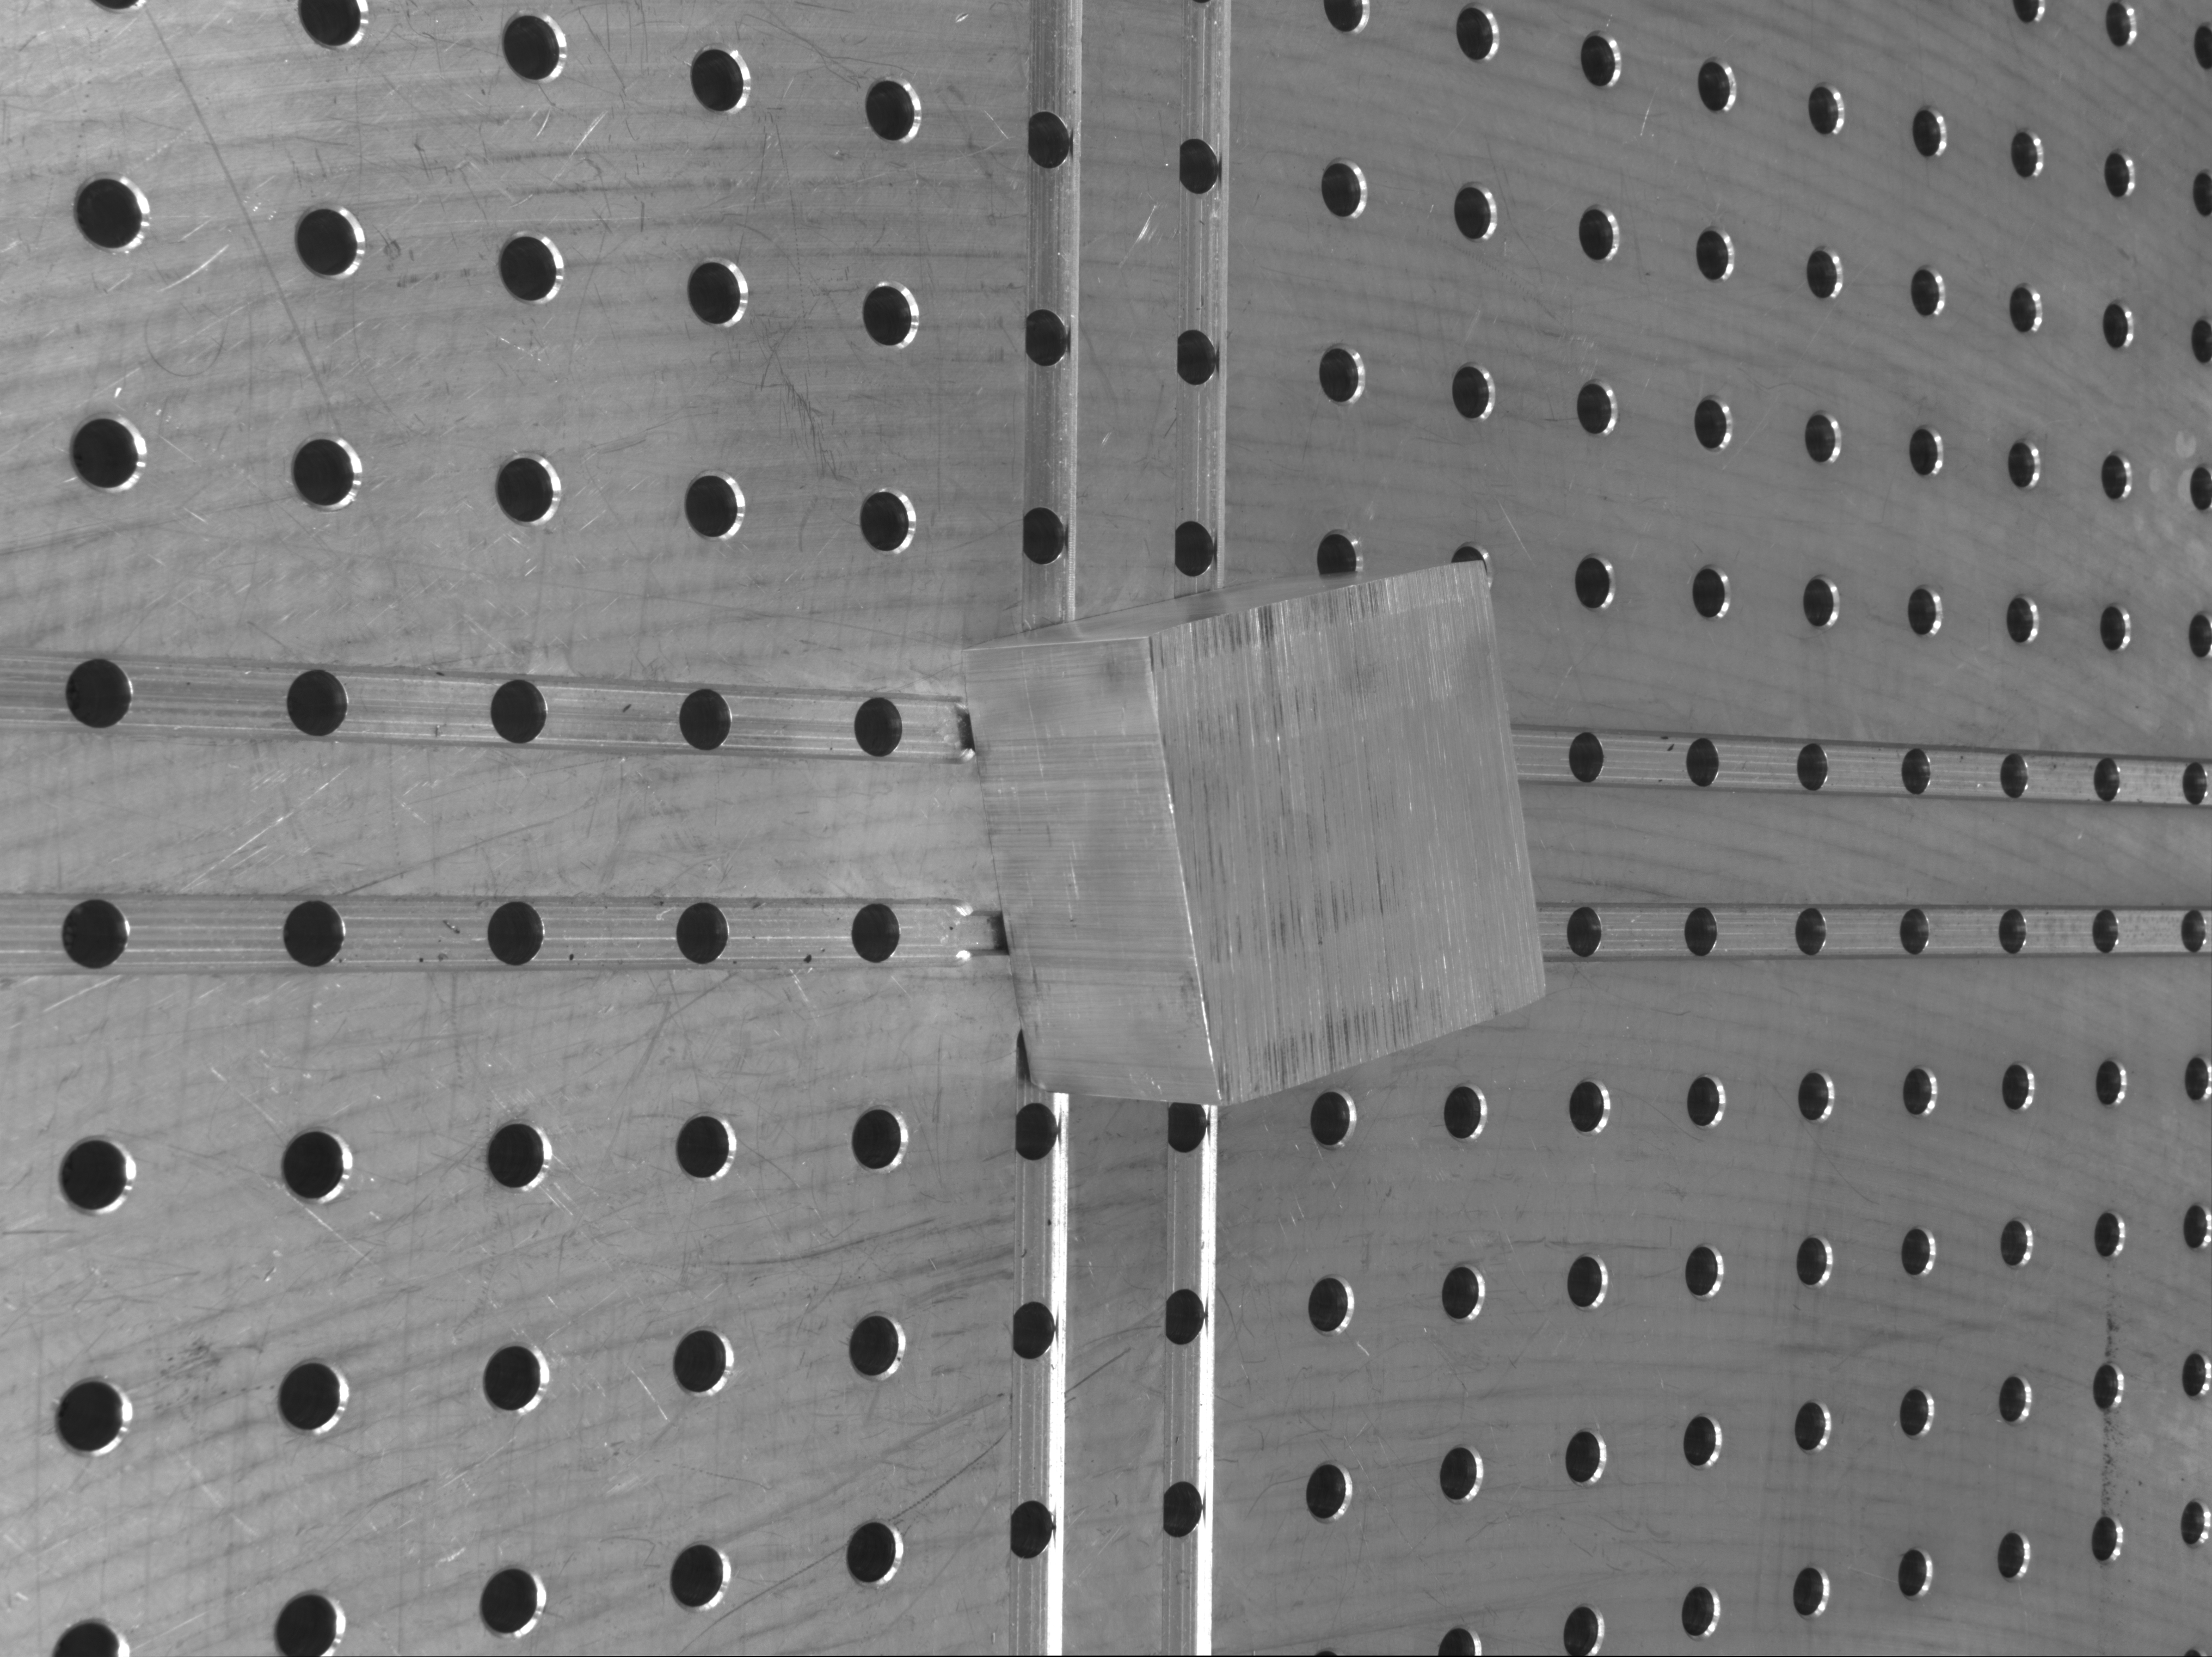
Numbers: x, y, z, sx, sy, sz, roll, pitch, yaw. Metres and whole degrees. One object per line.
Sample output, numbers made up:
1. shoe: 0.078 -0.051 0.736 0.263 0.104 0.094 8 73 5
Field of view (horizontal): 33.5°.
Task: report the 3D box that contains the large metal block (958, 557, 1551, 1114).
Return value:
1. large metal block: 0.027 0.000 0.644 0.080 0.050 0.080 -15 100 -39
